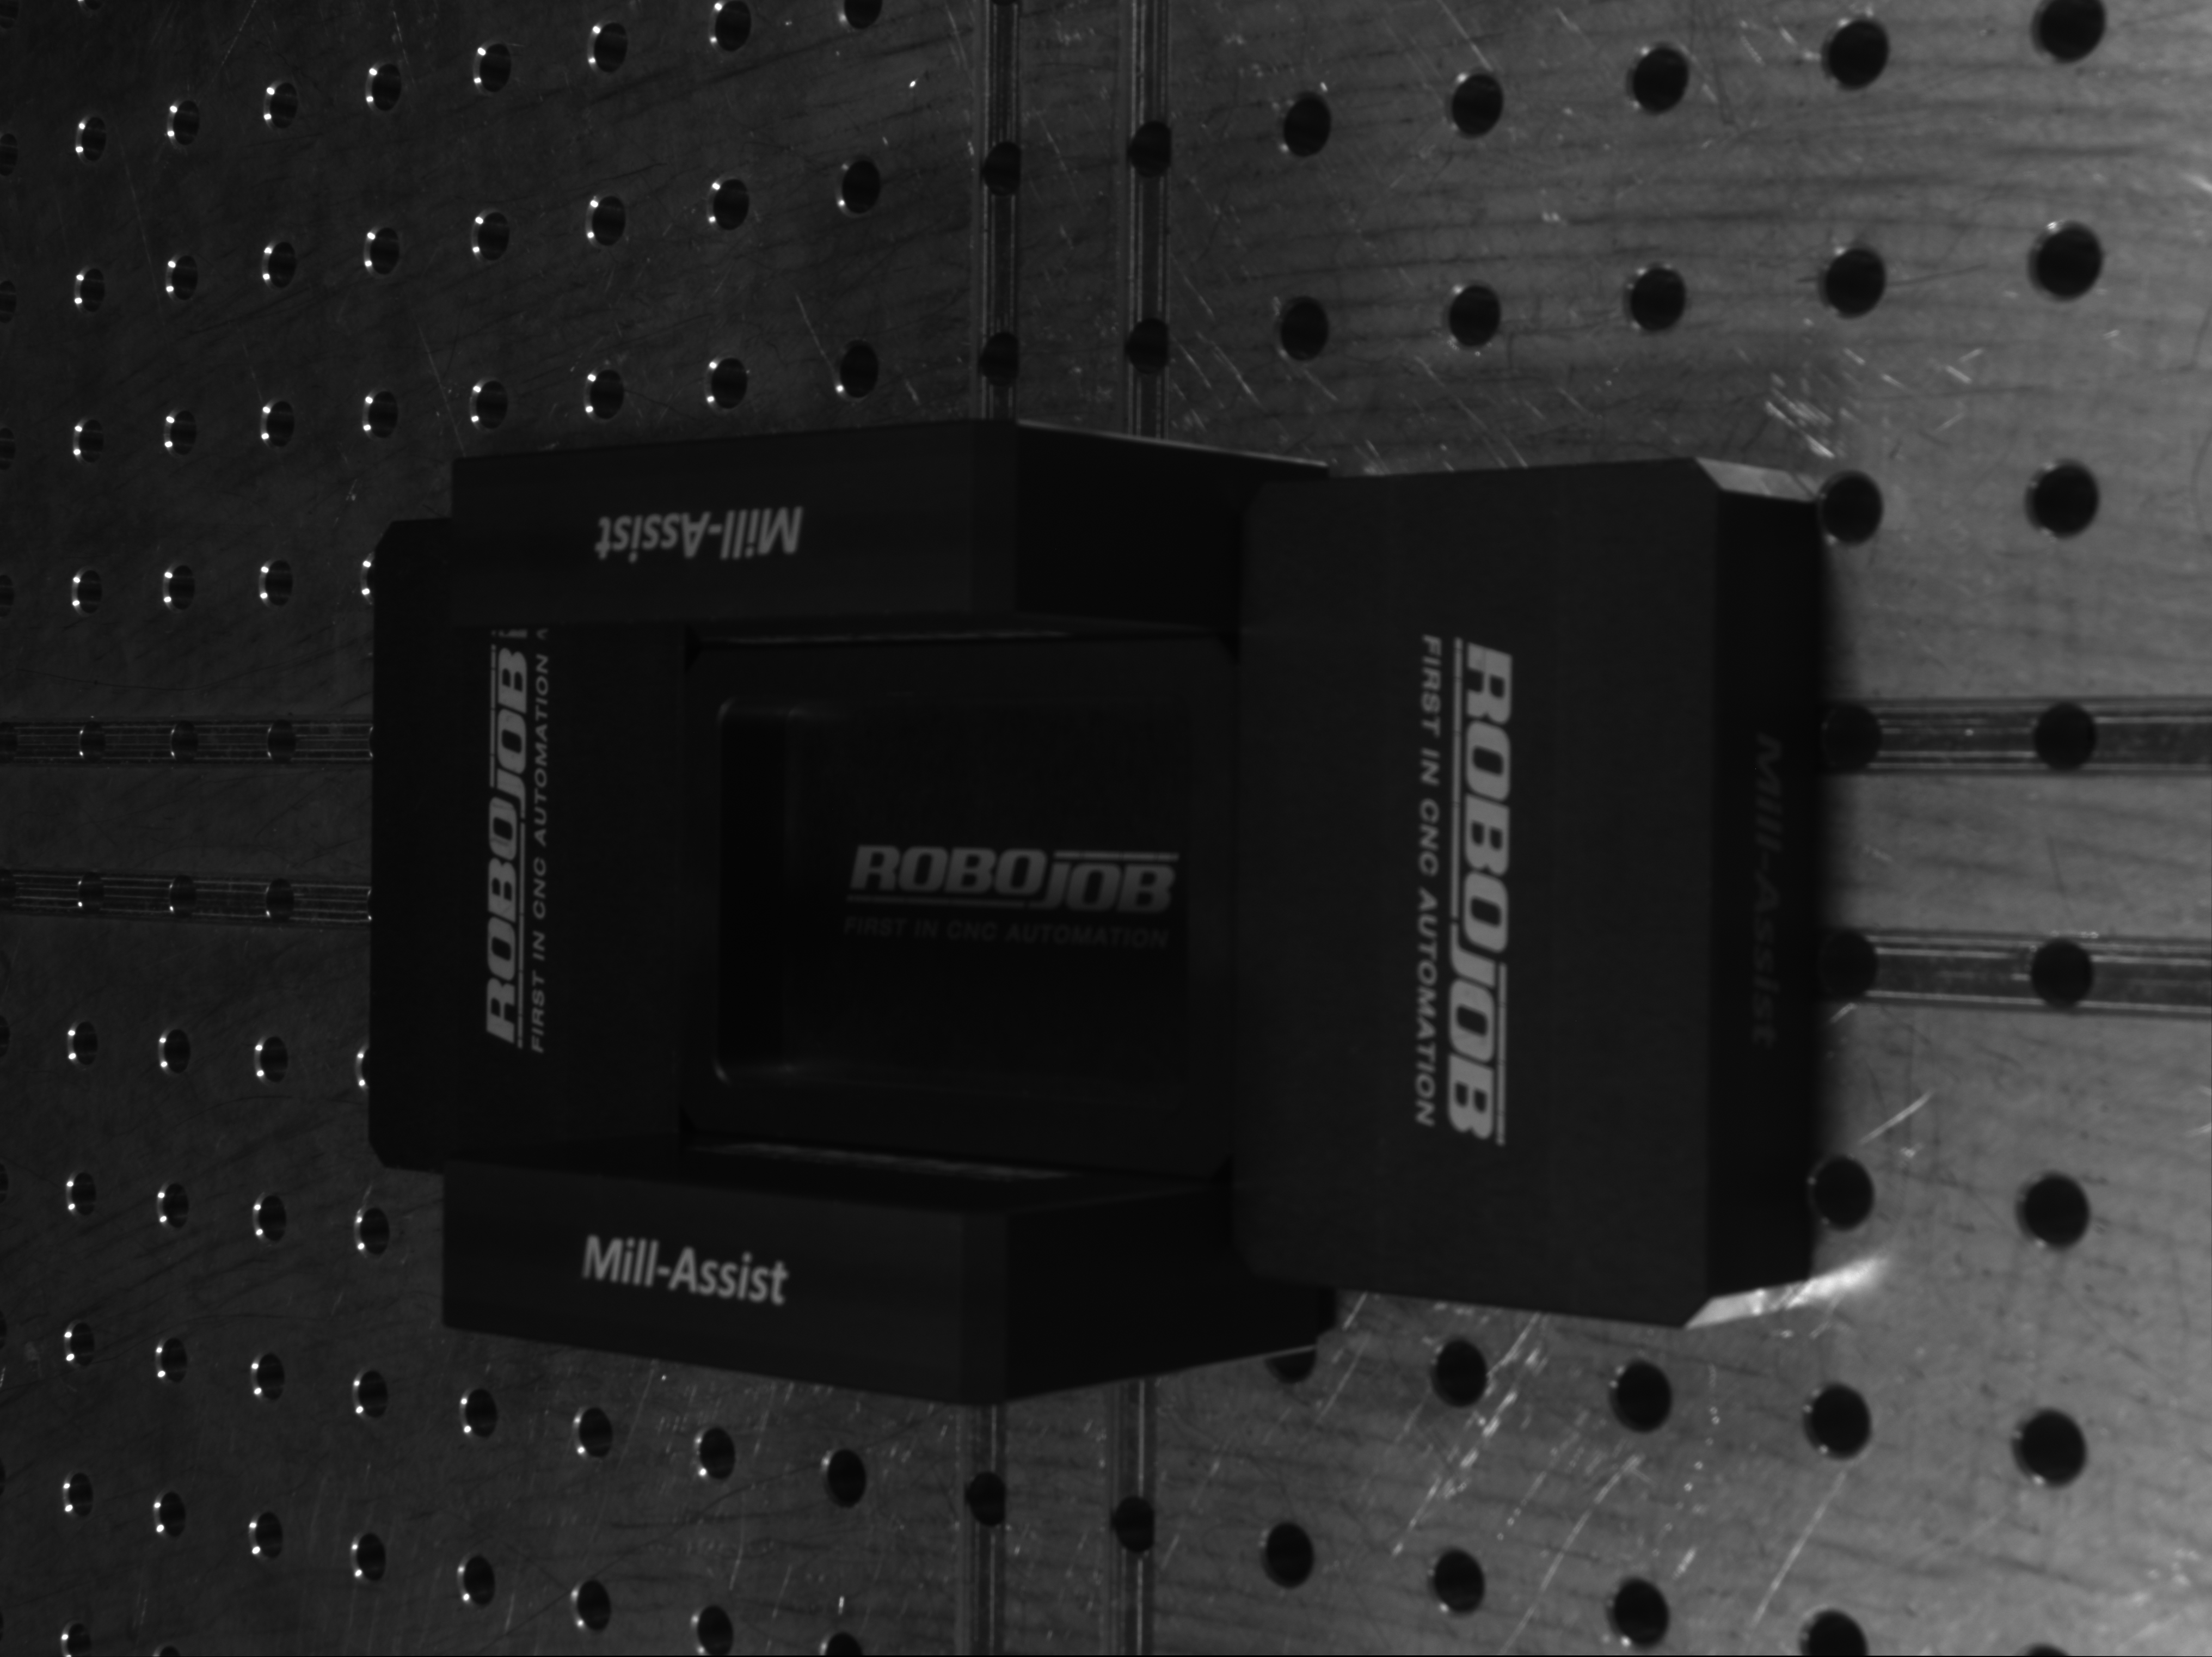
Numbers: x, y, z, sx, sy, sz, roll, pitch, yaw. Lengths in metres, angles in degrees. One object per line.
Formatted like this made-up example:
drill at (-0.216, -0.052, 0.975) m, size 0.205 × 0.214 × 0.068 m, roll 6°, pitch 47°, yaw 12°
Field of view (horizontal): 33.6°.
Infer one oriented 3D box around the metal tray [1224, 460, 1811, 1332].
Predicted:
metal tray at (0.064, 0.010, 0.581) m, size 0.090 × 0.030 × 0.130 m, roll 1°, pitch 91°, yaw 38°

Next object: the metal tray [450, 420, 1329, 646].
metal tray at (-0.038, -0.048, 0.629) m, size 0.130 × 0.090 × 0.030 m, roll 1°, pitch 90°, yaw 39°

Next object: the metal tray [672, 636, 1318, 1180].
metal tray at (-0.021, 0.012, 0.651) m, size 0.130 × 0.030 × 0.090 m, roll 1°, pitch 90°, yaw 39°

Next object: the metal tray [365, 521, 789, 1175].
metal tray at (-0.105, 0.004, 0.722) m, size 0.090 × 0.030 × 0.130 m, roll 1°, pitch 91°, yaw 39°

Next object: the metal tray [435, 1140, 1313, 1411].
metal tray at (-0.041, 0.073, 0.629) m, size 0.130 × 0.090 × 0.030 m, roll 1°, pitch 90°, yaw 39°
